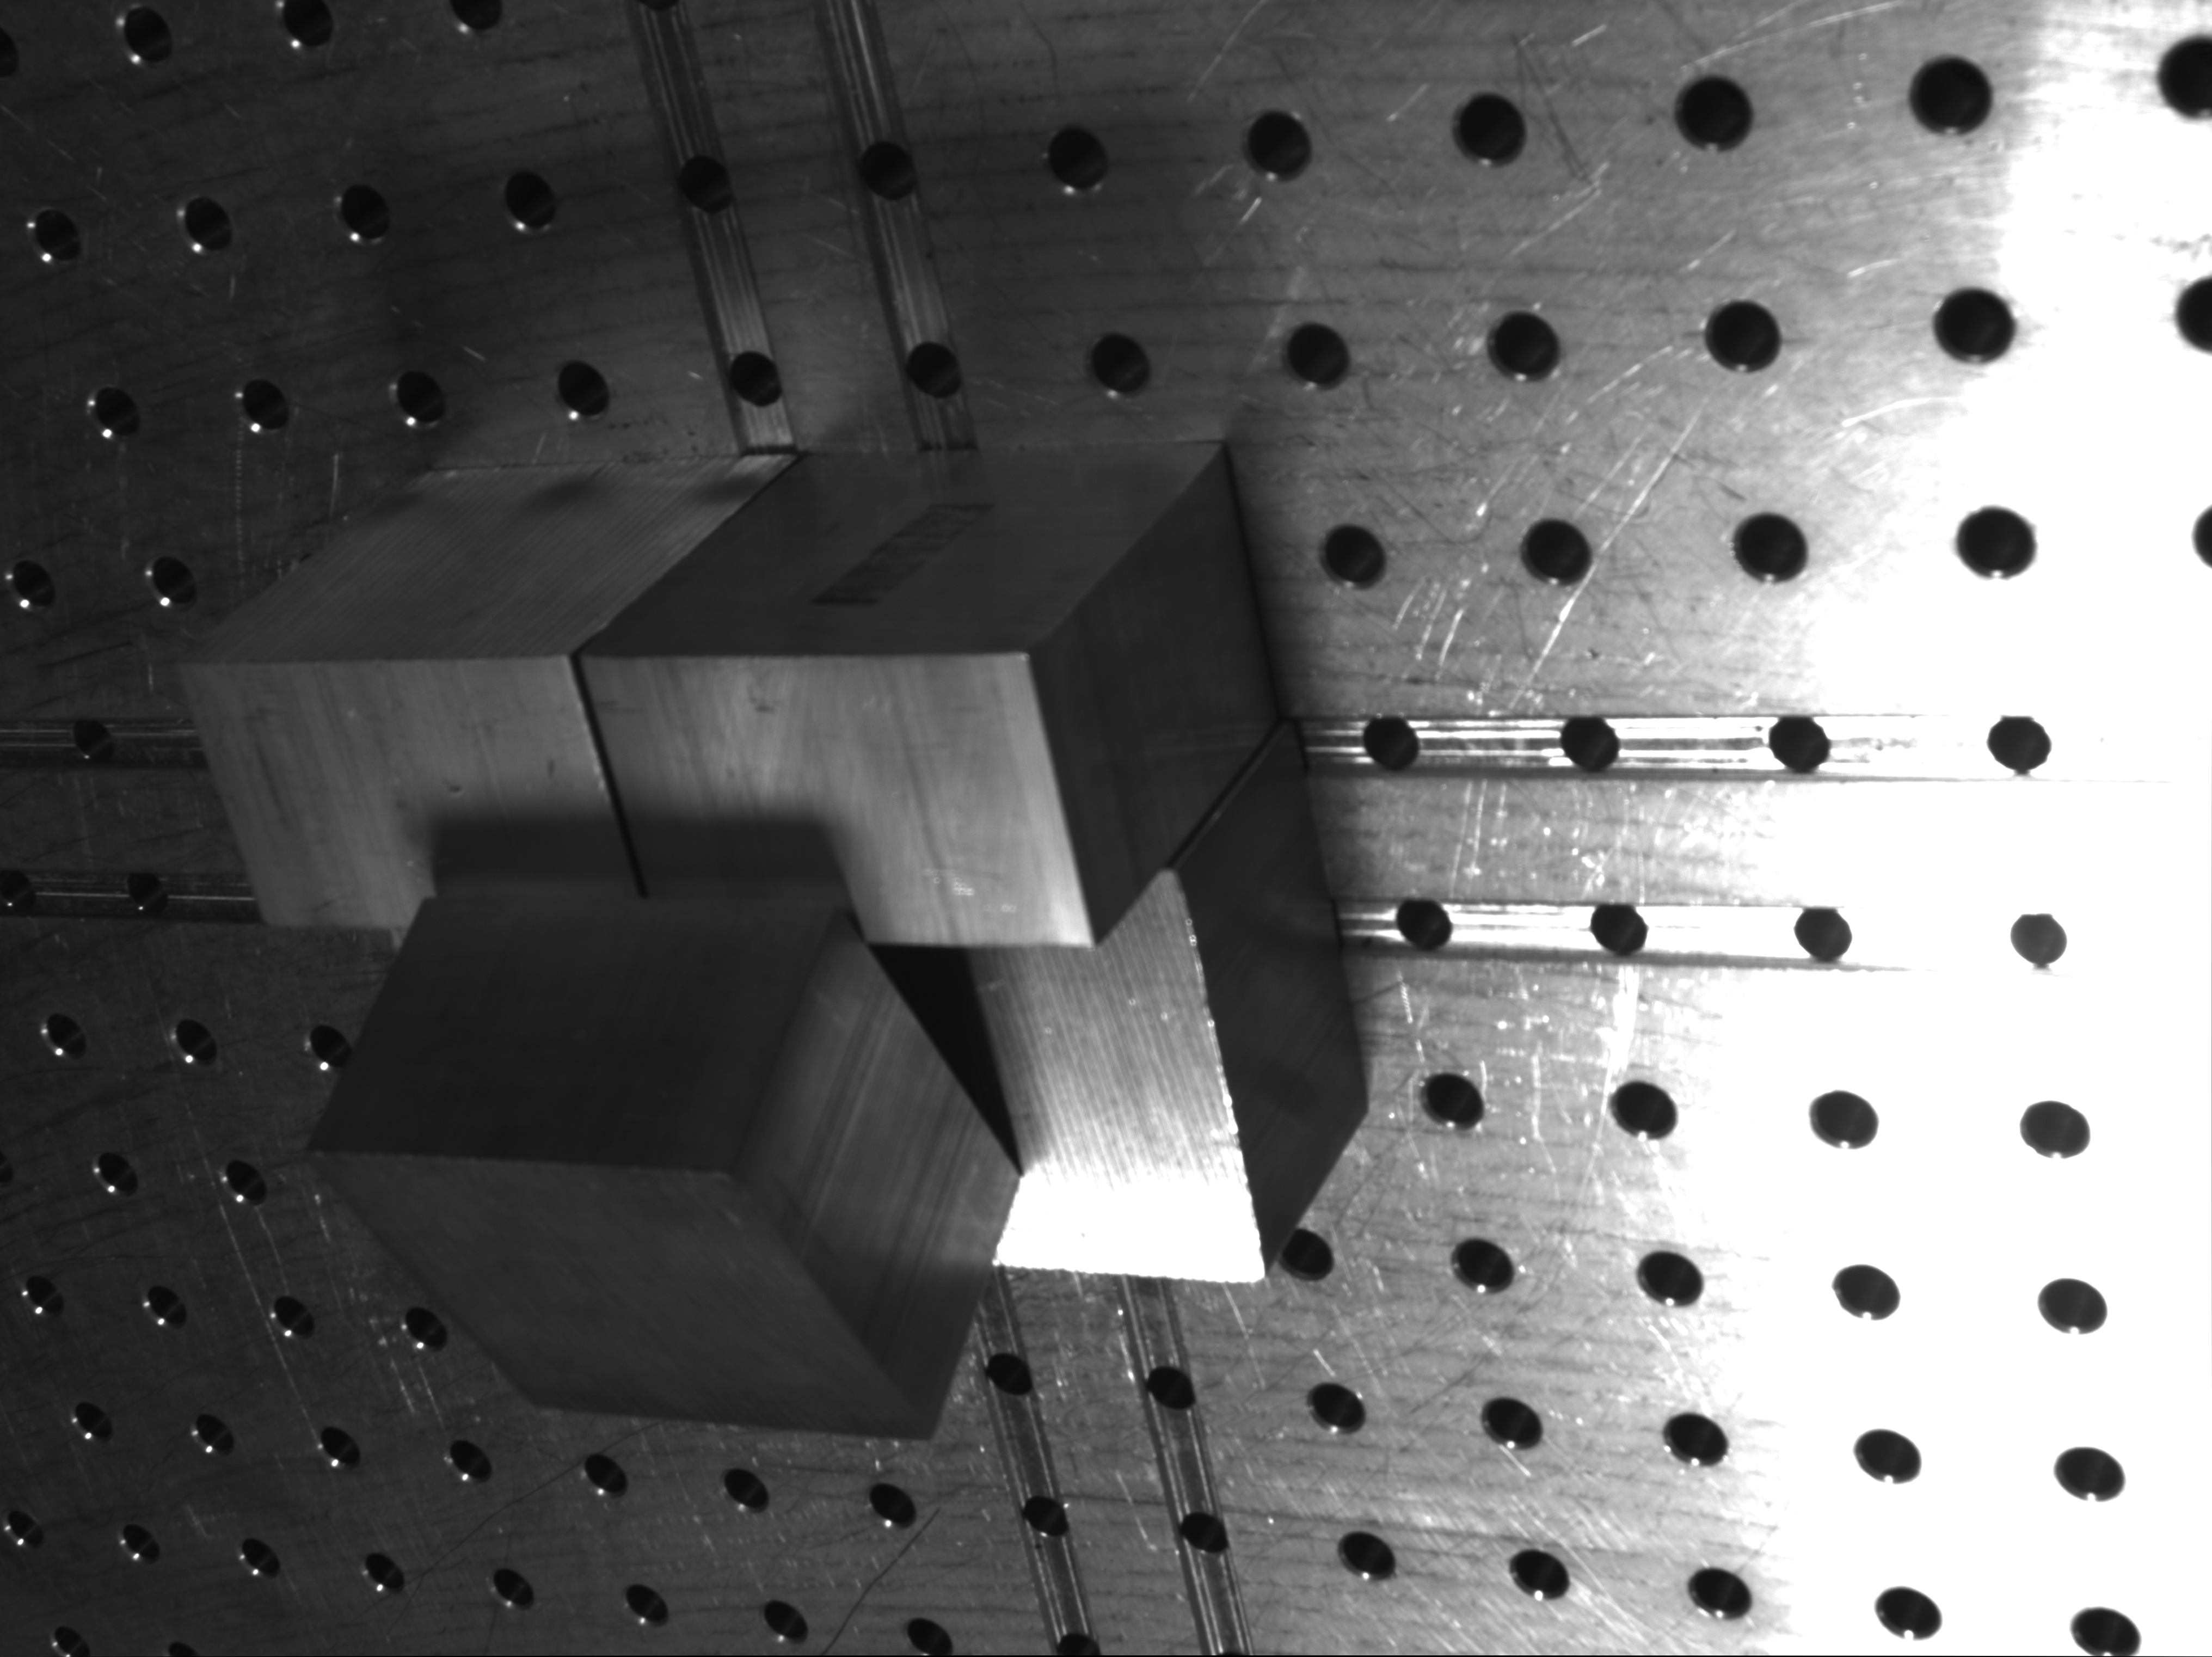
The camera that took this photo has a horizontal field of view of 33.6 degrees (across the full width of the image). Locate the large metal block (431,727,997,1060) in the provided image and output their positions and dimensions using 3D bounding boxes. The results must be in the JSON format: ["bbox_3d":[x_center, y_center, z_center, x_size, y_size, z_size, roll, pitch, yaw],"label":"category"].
[{"bbox_3d":[-0.072,0.028,0.668,0.080,0.050,0.080,1,119,26],"label":"large metal block"}]

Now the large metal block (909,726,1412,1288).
[{"bbox_3d":[0.001,0.029,0.632,0.080,0.050,0.080,1,119,26],"label":"large metal block"}]

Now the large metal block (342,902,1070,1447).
[{"bbox_3d":[-0.063,0.056,0.599,0.080,0.050,0.080,0,142,27],"label":"large metal block"}]

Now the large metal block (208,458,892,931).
[{"bbox_3d":[-0.092,-0.023,0.630,0.080,0.080,0.050,1,118,26],"label":"large metal block"}]

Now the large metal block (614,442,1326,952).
[{"bbox_3d":[-0.020,-0.023,0.594,0.080,0.080,0.050,1,118,26],"label":"large metal block"}]
